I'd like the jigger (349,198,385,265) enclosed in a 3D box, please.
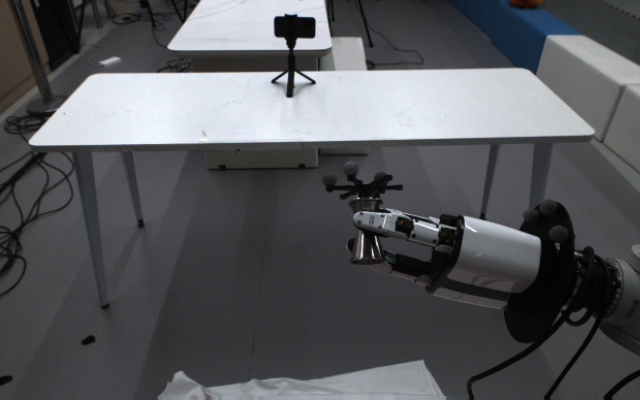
[{"bbox_3d":[0.053,0.033,0.537,0.043,0.043,0.071,0,75,-3],"label":"jigger"}]
